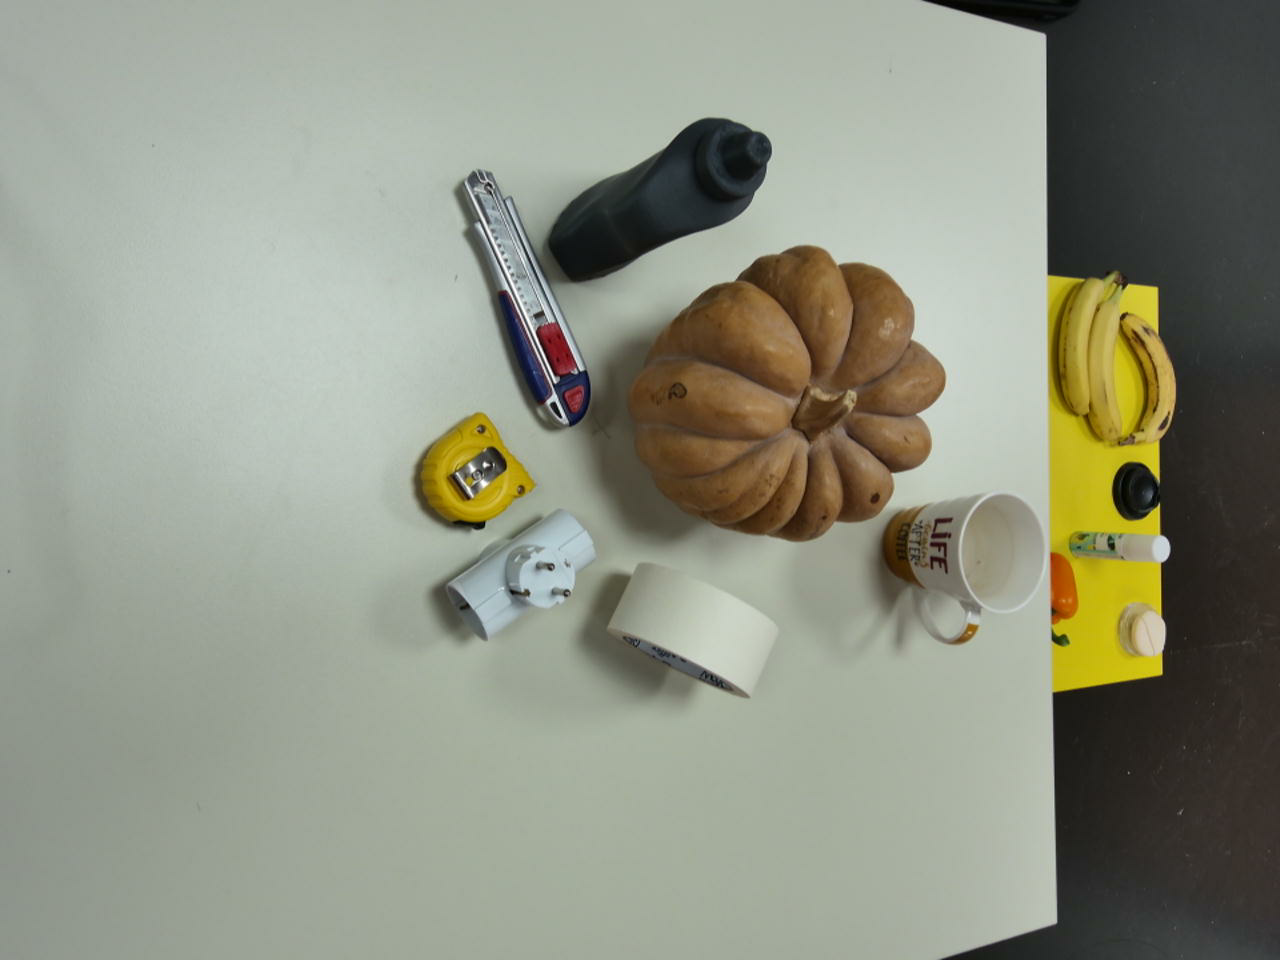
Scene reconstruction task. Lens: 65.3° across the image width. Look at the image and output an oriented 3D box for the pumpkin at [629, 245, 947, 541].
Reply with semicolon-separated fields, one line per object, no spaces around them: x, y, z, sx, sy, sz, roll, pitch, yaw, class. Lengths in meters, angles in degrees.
0.091;-0.054;0.666;0.198;0.177;0.198;0;91;-28;pumpkin
